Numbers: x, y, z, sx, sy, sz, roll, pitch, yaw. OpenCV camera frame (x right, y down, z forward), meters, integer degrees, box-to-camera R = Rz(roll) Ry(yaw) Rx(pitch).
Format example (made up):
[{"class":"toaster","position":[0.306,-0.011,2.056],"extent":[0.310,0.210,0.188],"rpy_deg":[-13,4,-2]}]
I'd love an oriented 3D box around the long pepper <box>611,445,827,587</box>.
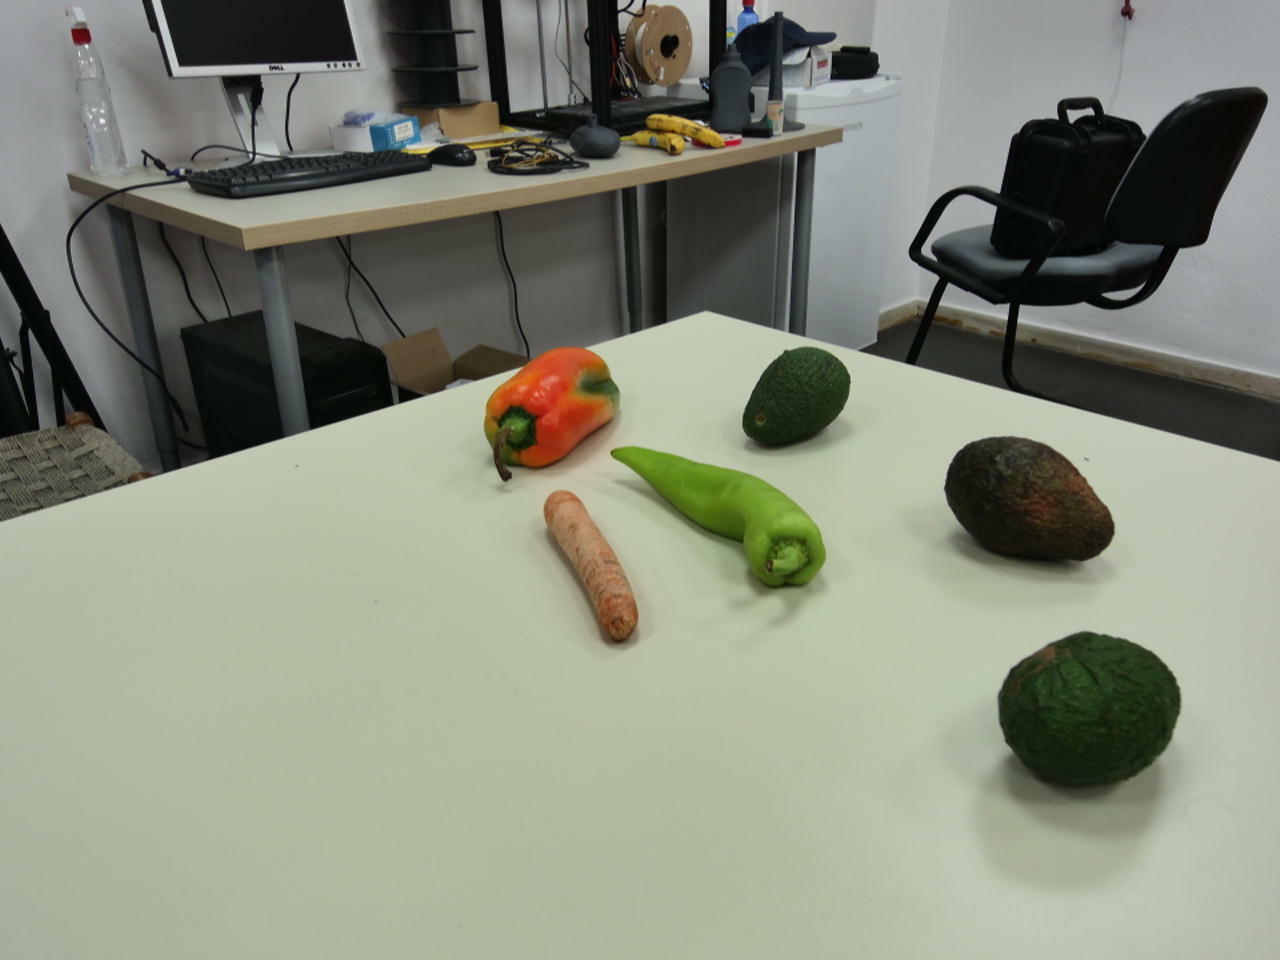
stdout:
[{"class":"long pepper","position":[0.052,0.014,0.632],"extent":[0.065,0.045,0.204],"rpy_deg":[-11,27,-24]}]
